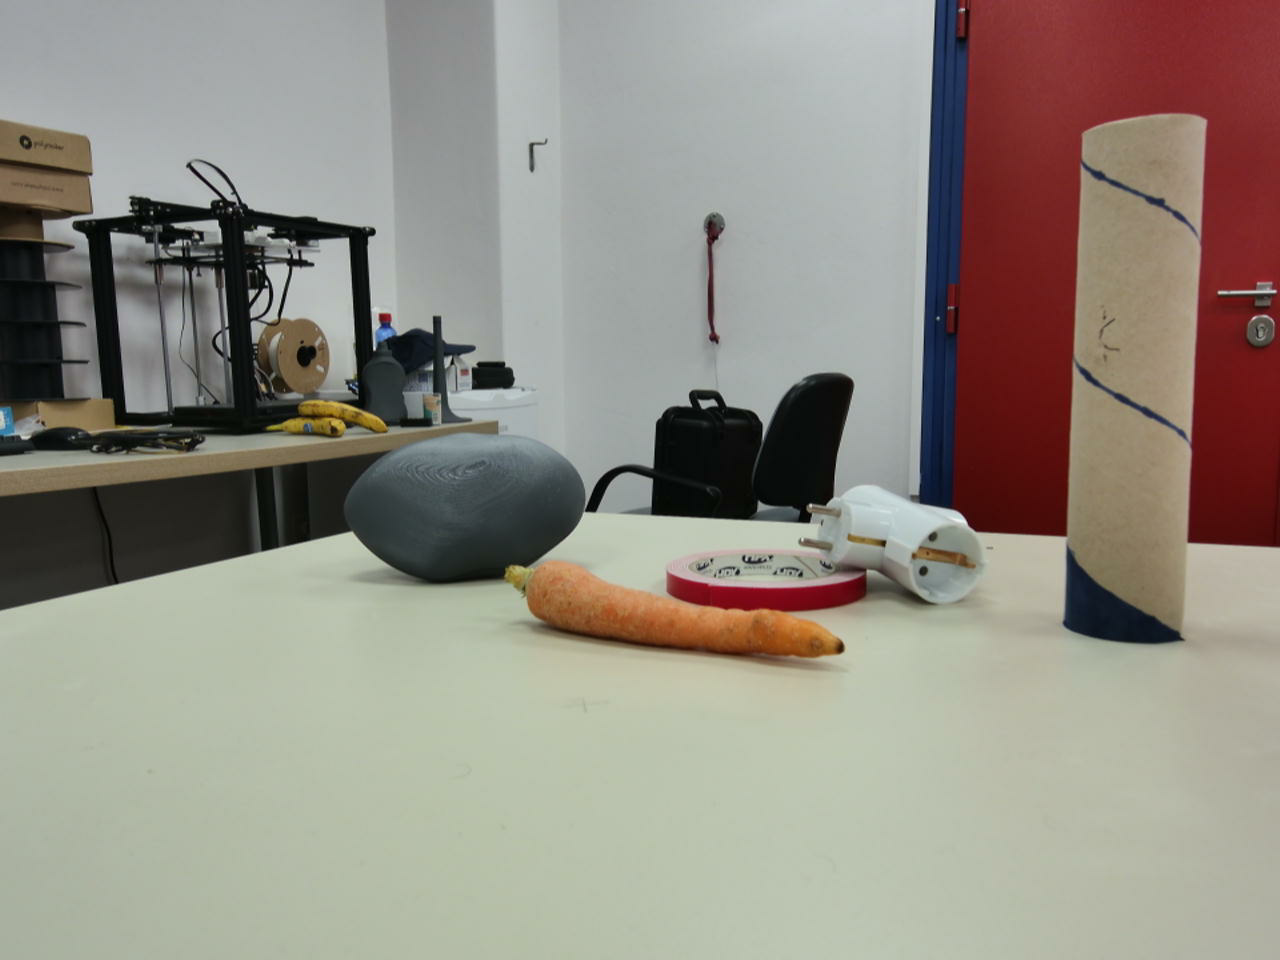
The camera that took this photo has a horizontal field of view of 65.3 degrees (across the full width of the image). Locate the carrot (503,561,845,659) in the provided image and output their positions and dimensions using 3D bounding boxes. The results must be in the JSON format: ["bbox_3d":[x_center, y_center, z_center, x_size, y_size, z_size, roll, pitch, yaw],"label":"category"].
[{"bbox_3d":[0.008,0.057,0.445,0.173,0.032,0.030,3,4,34],"label":"carrot"}]
